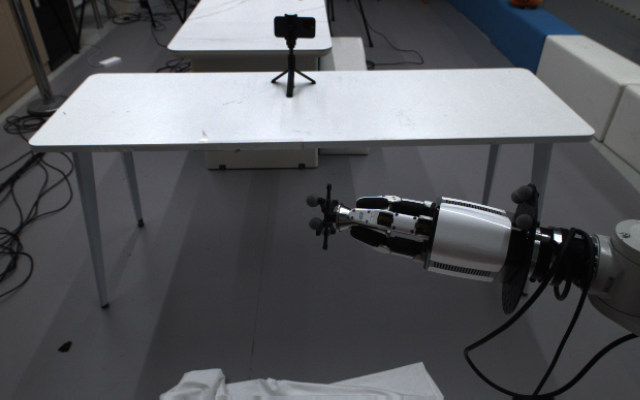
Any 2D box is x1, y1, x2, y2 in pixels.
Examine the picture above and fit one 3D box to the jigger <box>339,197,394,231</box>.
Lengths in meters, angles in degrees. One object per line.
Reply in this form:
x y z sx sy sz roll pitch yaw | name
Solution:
0.066 0.020 0.638 0.071 0.043 0.043 2 34 17 | jigger
